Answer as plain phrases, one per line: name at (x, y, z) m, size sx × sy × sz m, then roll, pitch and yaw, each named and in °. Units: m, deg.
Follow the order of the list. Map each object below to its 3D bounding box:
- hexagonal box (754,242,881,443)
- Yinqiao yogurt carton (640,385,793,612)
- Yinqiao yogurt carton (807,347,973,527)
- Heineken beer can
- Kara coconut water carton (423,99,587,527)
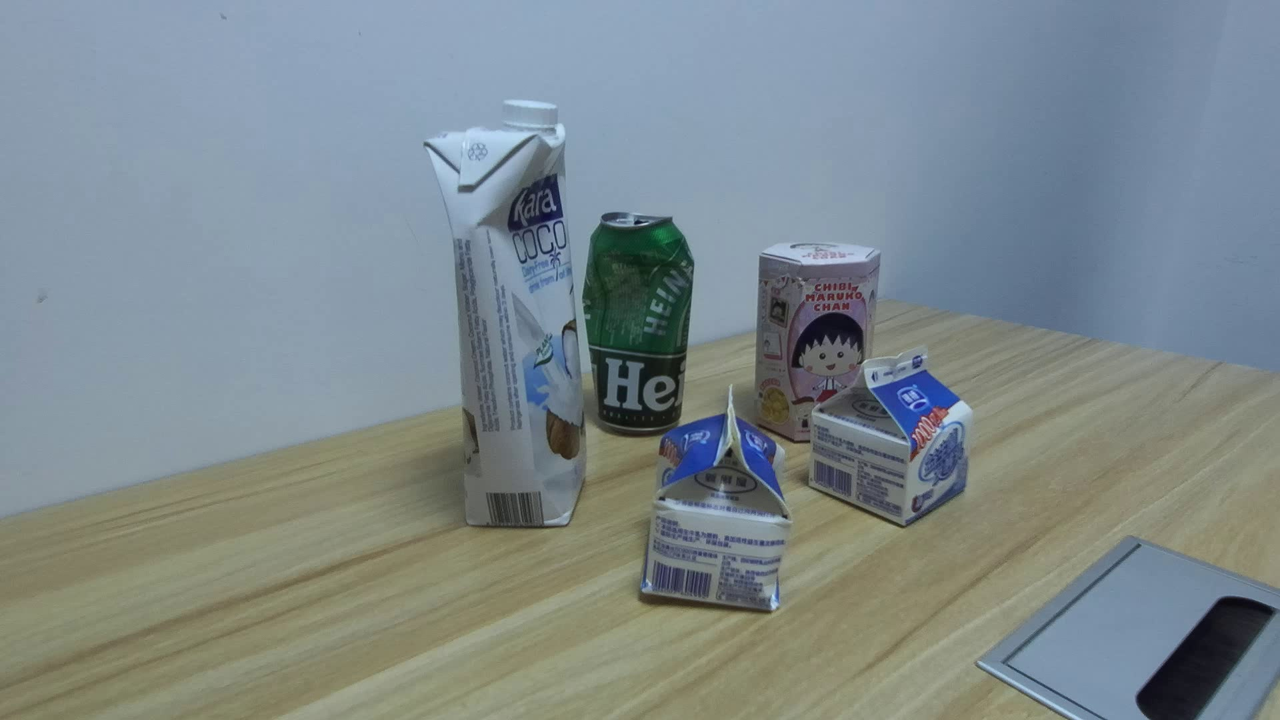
hexagonal box at (0.132, -0.015, 0.531) m, size 0.091 × 0.136 × 0.084 m, roll -3°, pitch 17°, yaw -3°
Yinqiao yogurt carton at (0.040, 0.066, 0.357) m, size 0.071 × 0.094 × 0.077 m, roll 6°, pitch 20°, yaw 6°
Yinqiao yogurt carton at (0.156, 0.039, 0.437) m, size 0.076 × 0.092 × 0.073 m, roll -13°, pitch 20°, yaw -37°
Heineken beer can at (-0.003, -0.027, 0.539) m, size 0.066 × 0.164 × 0.077 m, roll -9°, pitch 21°, yaw -22°
Kara coconut water carton at (-0.071, -0.024, 0.414) m, size 0.069 × 0.238 × 0.115 m, roll 2°, pitch 18°, yaw 6°
